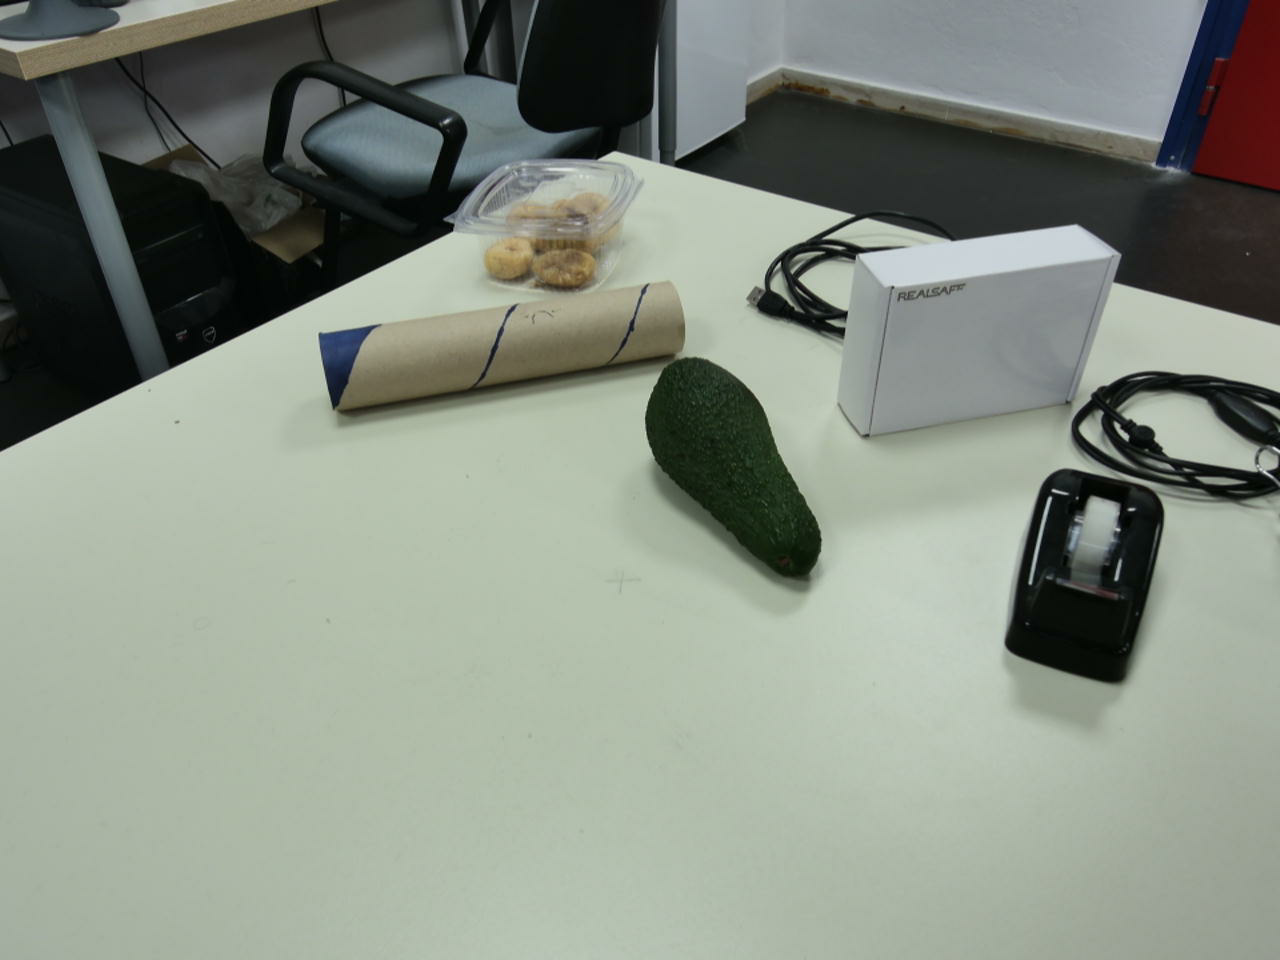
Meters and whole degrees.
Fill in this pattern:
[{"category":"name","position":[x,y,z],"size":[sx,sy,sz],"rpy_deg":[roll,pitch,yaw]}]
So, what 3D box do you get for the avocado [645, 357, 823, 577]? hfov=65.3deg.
[{"category":"avocado","position":[0.052,-0.014,0.516],"size":[0.063,0.067,0.141],"rpy_deg":[-25,43,-28]}]
